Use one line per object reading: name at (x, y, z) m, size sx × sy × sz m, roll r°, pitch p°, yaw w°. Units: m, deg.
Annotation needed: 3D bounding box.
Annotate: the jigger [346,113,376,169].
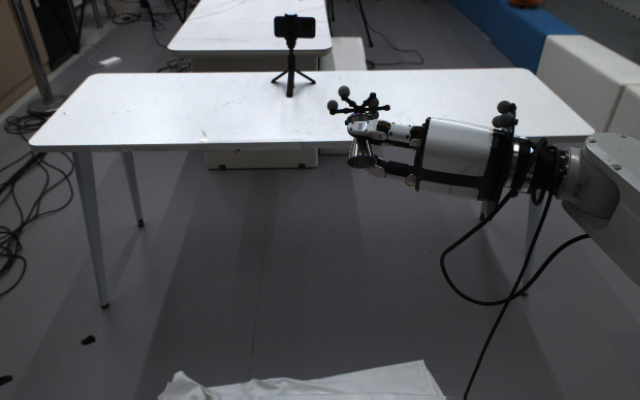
jigger at (0.058, -0.086, 0.691) m, size 0.043 × 0.043 × 0.071 m, roll 1°, pitch 70°, yaw -2°
